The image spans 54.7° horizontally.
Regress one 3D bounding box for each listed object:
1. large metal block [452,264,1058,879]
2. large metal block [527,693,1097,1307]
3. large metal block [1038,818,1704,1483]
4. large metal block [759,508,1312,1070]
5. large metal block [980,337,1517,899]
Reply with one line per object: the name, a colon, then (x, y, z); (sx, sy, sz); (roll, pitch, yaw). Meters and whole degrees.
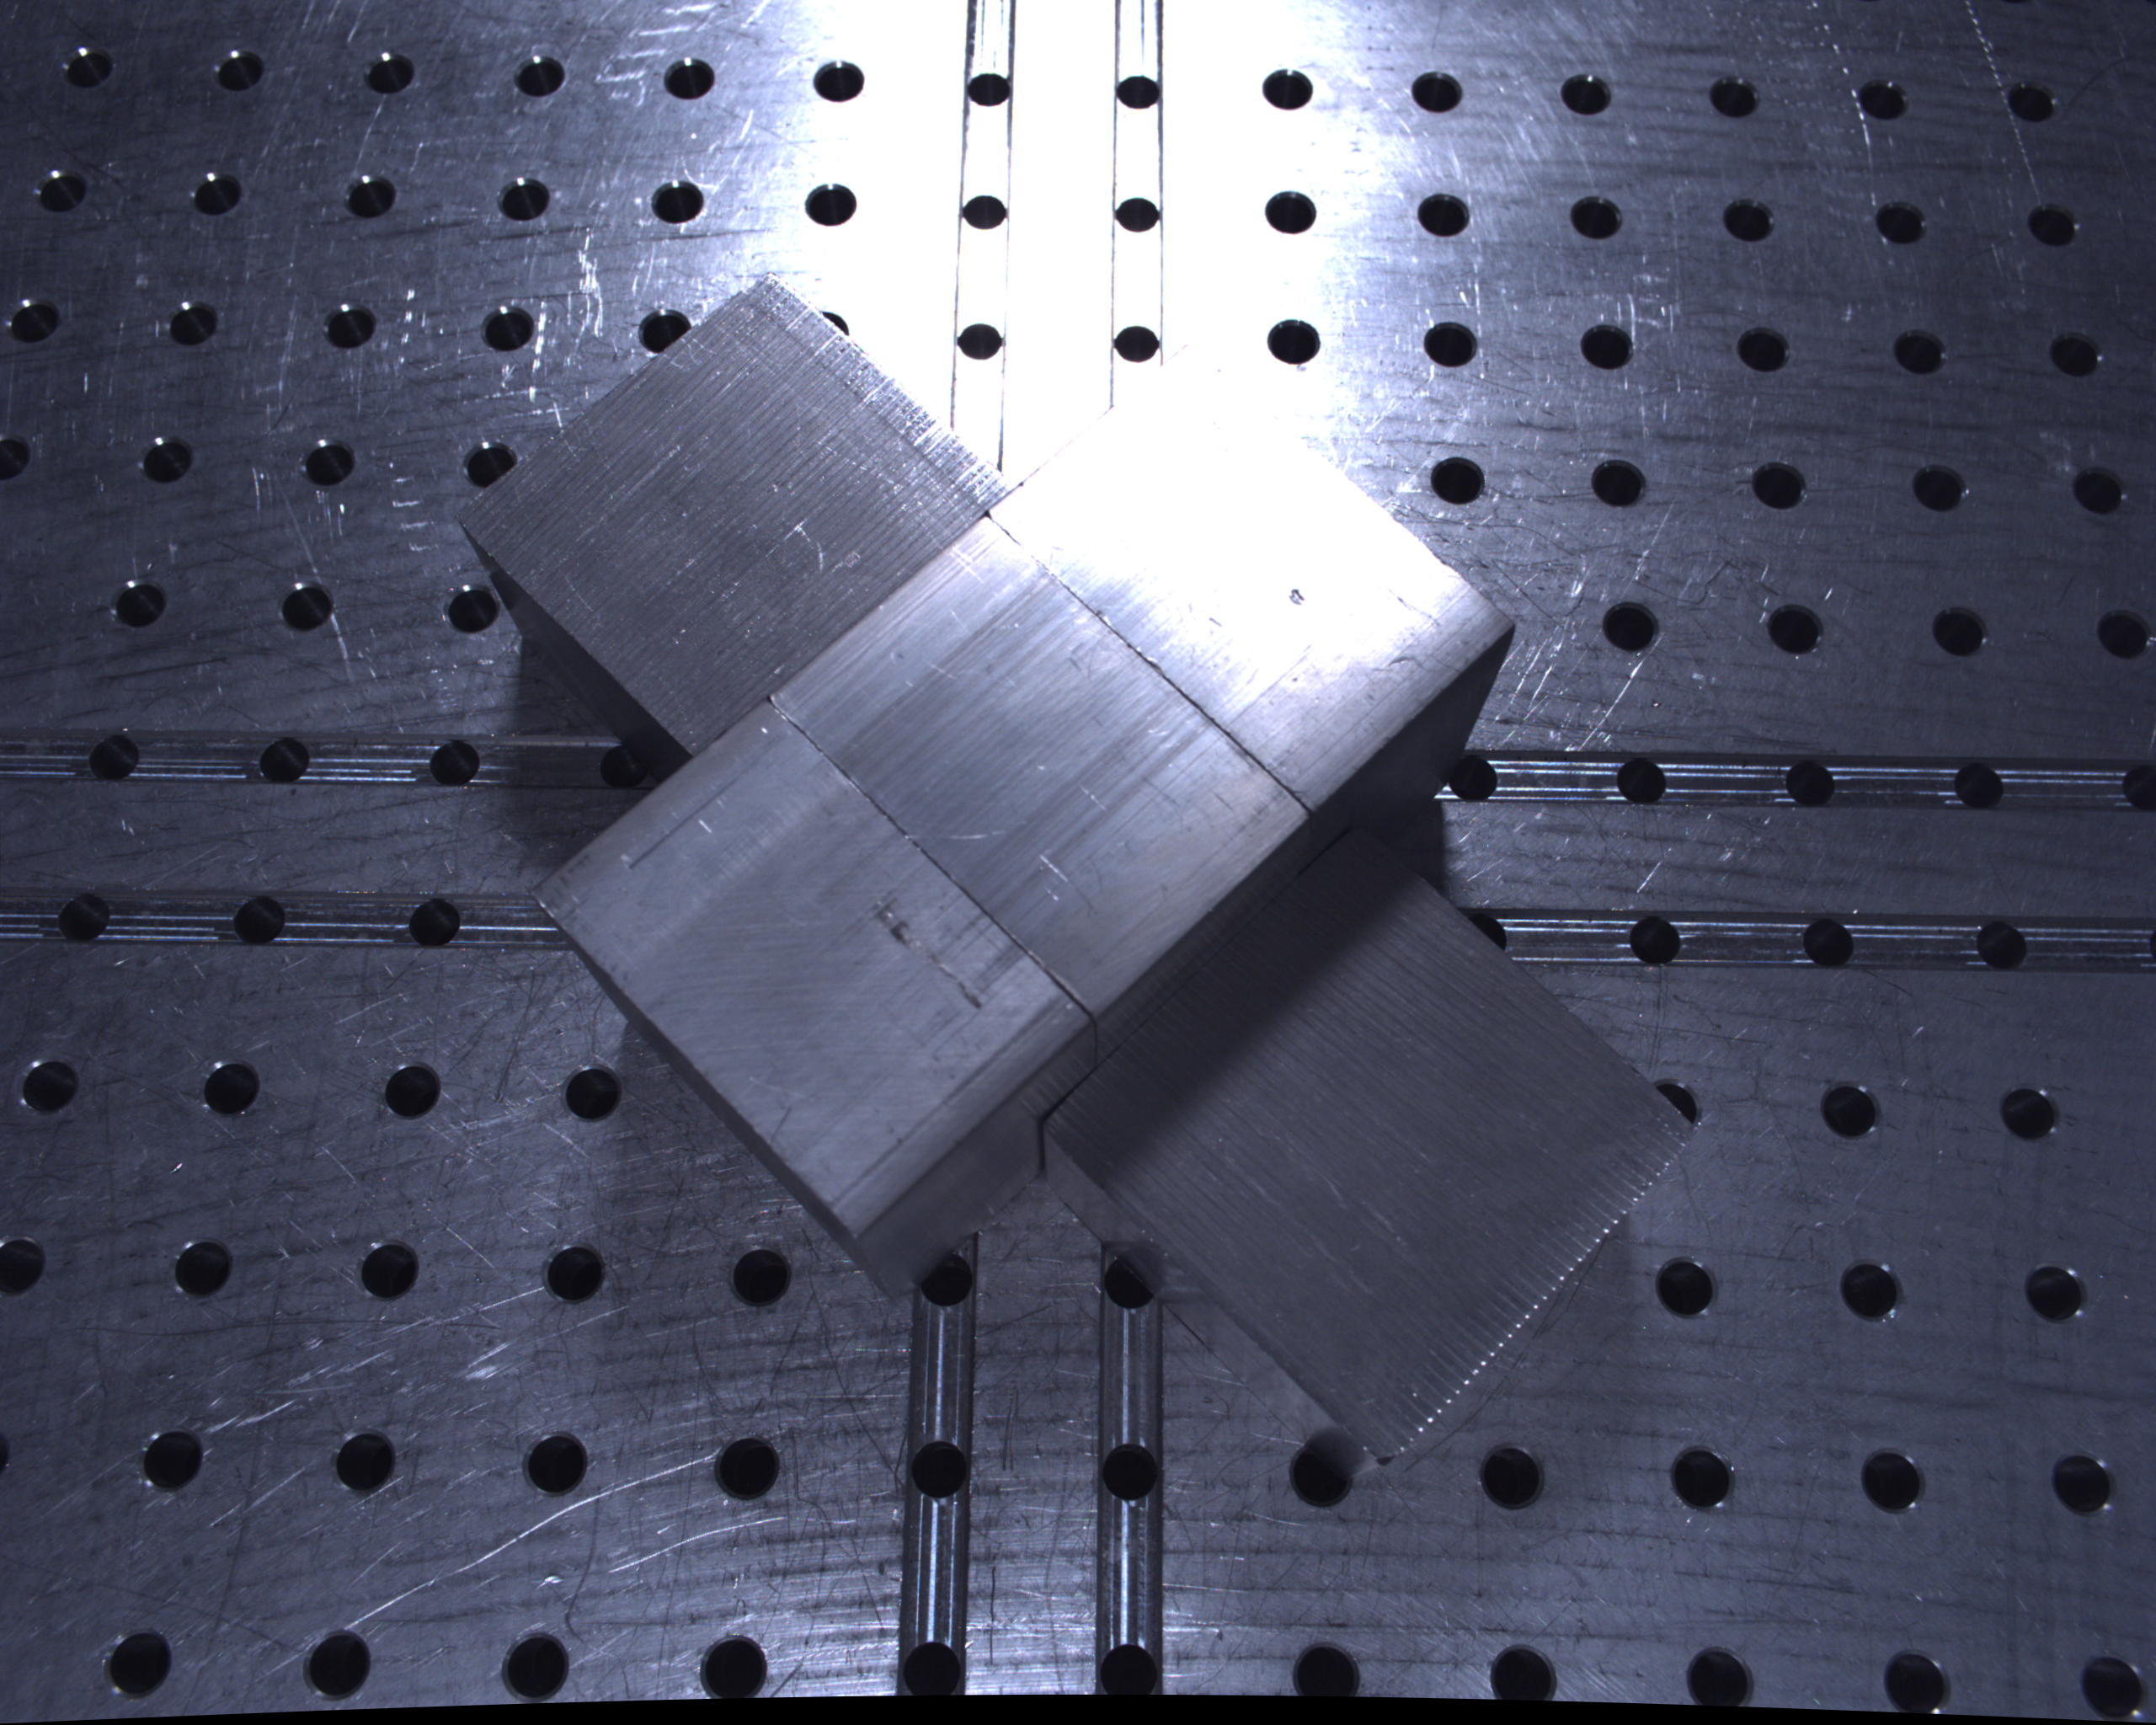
large metal block: (-0.061, -0.057, 0.416); (0.080, 0.050, 0.080); (43, 76, 13)
large metal block: (-0.043, 0.028, 0.372); (0.050, 0.080, 0.080); (-43, 76, -14)
large metal block: (0.050, 0.053, 0.380); (0.080, 0.050, 0.080); (-42, 76, -13)
large metal block: (-0.008, -0.005, 0.385); (0.050, 0.080, 0.080); (-43, 76, -14)
large metal block: (0.029, -0.038, 0.397); (0.050, 0.080, 0.080); (-43, 76, -14)
